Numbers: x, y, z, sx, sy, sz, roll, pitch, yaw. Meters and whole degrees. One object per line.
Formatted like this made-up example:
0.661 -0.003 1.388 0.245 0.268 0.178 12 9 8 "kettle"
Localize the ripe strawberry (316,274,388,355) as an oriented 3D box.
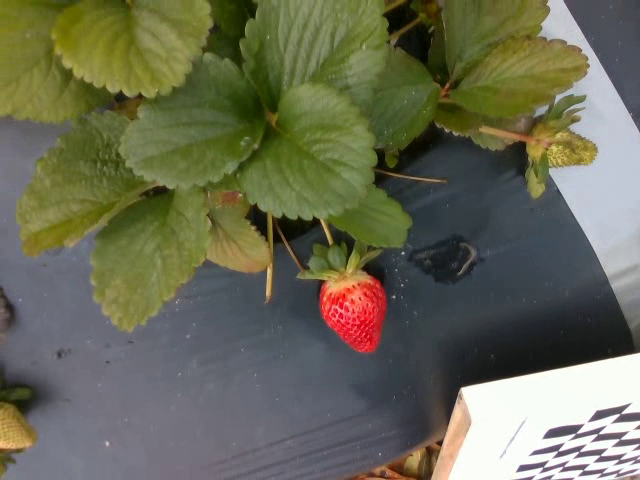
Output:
0.017 0.033 0.281 0.036 0.046 0.040 -8 12 17 "ripe strawberry"
